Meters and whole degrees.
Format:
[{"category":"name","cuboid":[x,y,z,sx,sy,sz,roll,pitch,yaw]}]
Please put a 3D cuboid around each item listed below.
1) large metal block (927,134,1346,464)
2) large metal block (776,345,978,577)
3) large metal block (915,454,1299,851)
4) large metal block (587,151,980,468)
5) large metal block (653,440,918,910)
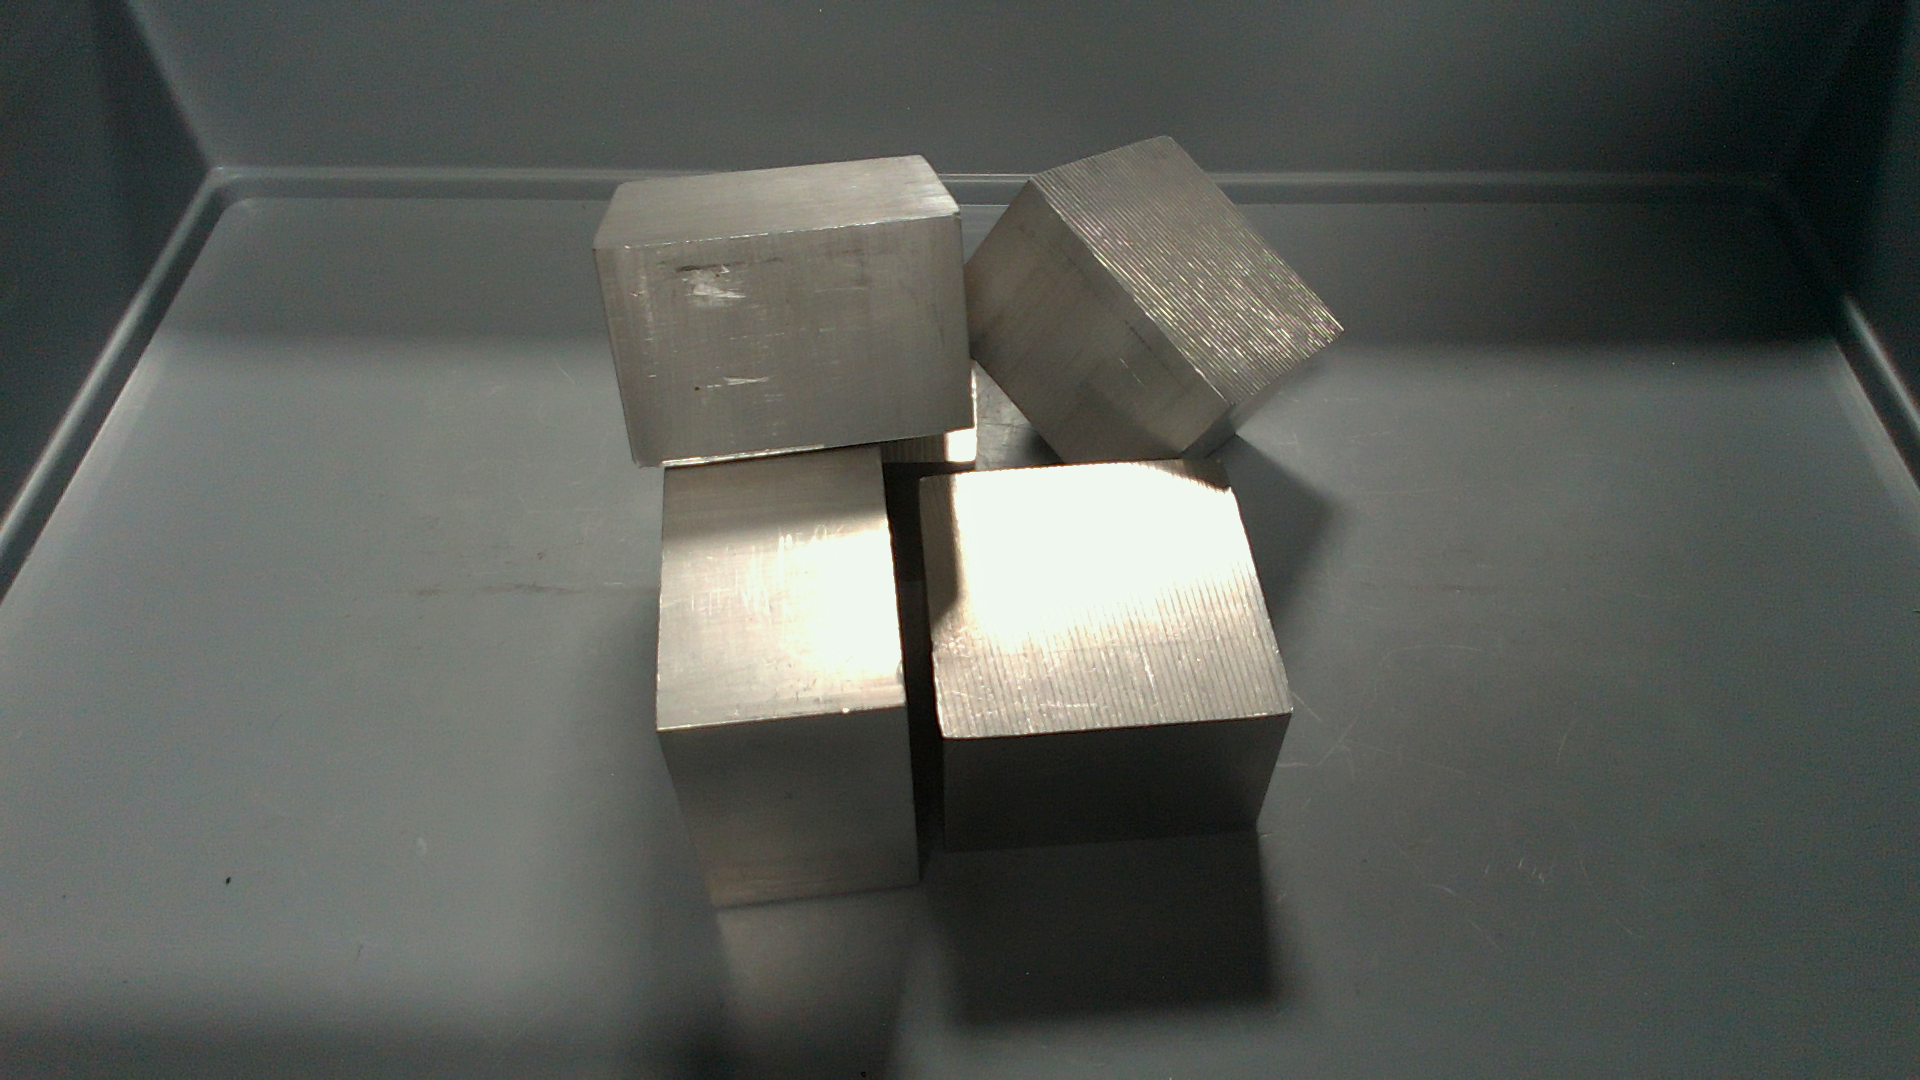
[{"category":"large metal block","cuboid":[0.052,-0.064,0.395,0.080,0.050,0.080,50,41,7]},{"category":"large metal block","cuboid":[-0.036,-0.036,0.404,0.080,0.050,0.080,-1,50,-1]},{"category":"large metal block","cuboid":[0.032,0.027,0.348,0.080,0.050,0.080,-4,50,-3]},{"category":"large metal block","cuboid":[-0.042,-0.060,0.340,0.080,0.050,0.080,-7,25,-6]},{"category":"large metal block","cuboid":[-0.040,0.031,0.328,0.050,0.080,0.080,-5,50,-4]}]
